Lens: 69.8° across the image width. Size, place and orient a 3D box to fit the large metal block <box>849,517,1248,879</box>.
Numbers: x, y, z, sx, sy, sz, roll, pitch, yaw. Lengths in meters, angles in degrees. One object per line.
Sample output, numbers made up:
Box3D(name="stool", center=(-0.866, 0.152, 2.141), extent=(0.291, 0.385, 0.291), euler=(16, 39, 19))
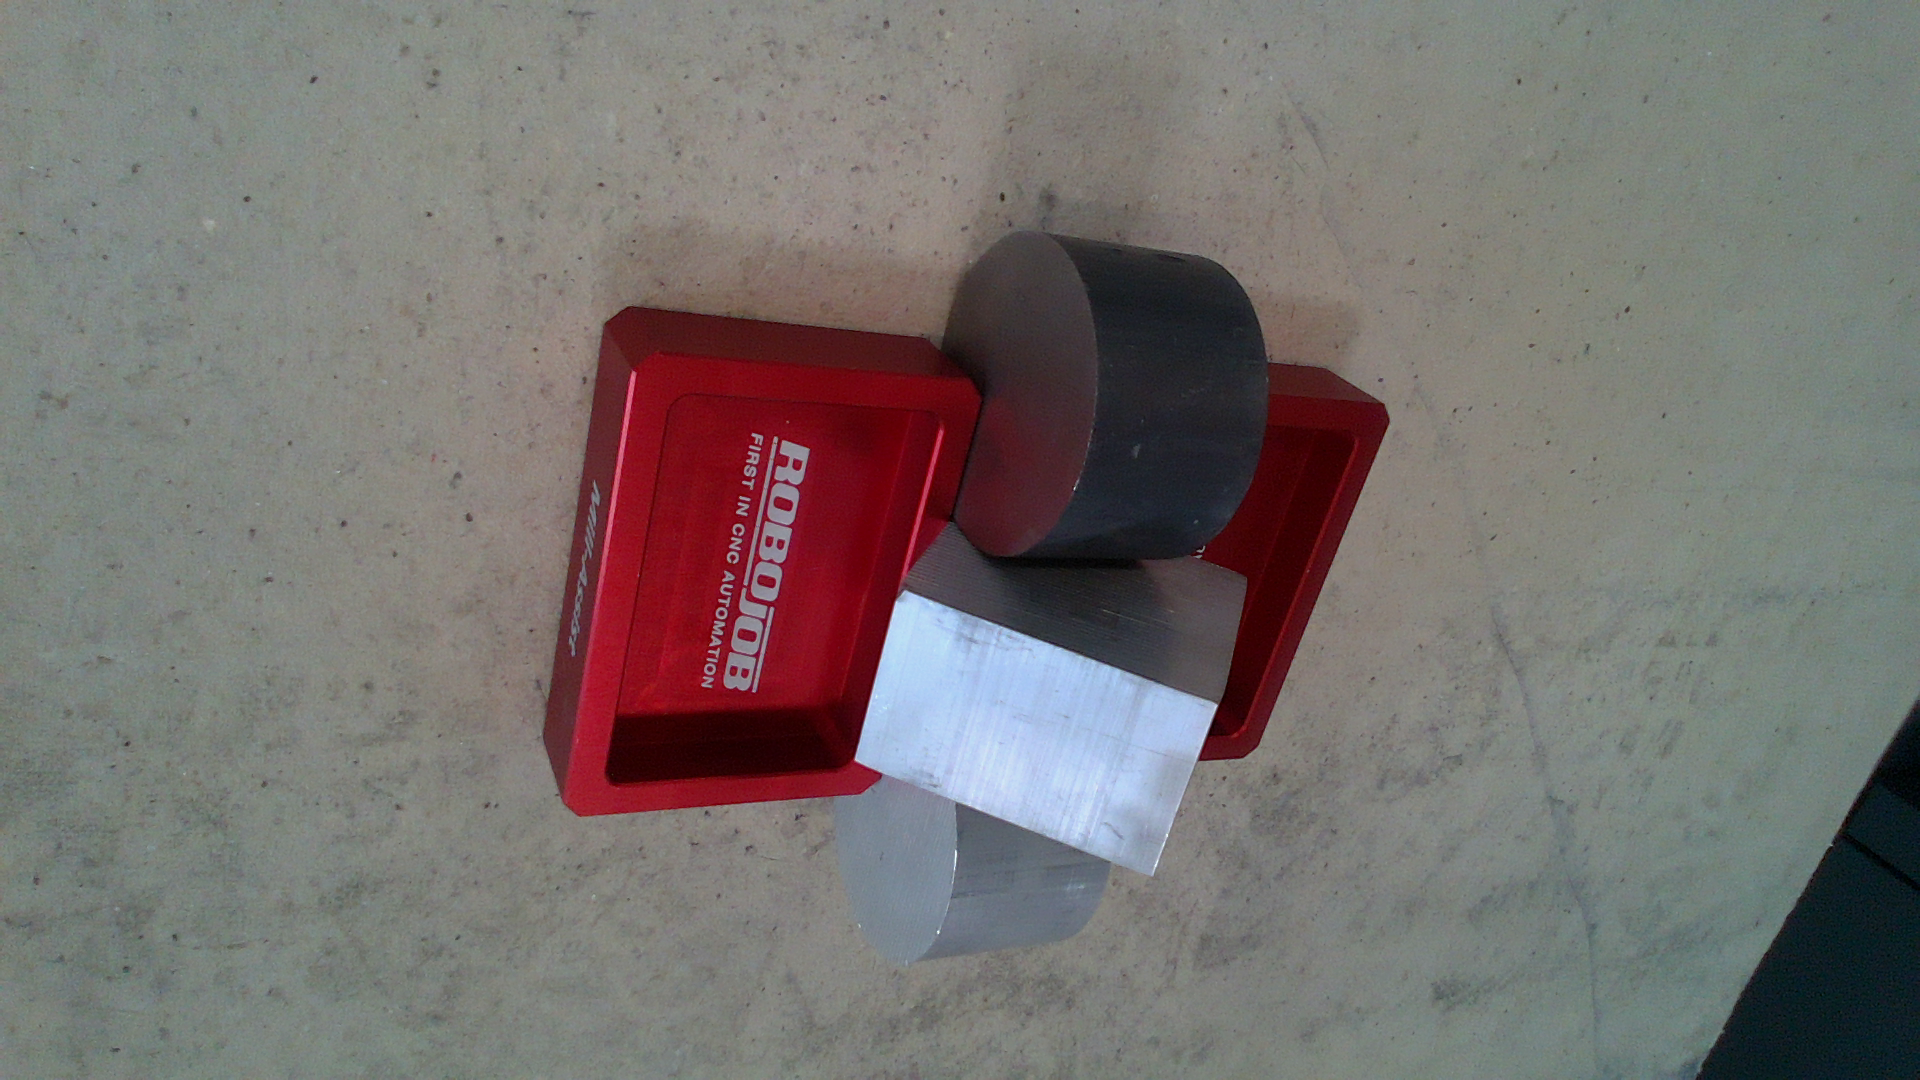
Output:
Box3D(name="large metal block", center=(0.026, 0.032, 0.361), extent=(0.080, 0.080, 0.050), euler=(19, 115, 7))

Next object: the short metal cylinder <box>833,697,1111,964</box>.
Box3D(name="short metal cylinder", center=(0.002, 0.080, 0.403), extent=(0.050, 0.080, 0.080), euler=(2, 118, -29))

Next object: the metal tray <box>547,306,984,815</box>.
Box3D(name="metal tray", center=(-0.053, 0.009, 0.363), extent=(0.090, 0.030, 0.130), euler=(1, 118, -29))

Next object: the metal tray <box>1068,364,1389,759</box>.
Box3D(name="metal tray", center=(0.070, 0.009, 0.430), extent=(0.090, 0.030, 0.130), euler=(1, 118, -29))

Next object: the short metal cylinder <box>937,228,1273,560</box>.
Box3D(name="short metal cylinder", center=(0.033, -0.035, 0.350), extent=(0.050, 0.080, 0.080), euler=(2, 118, -29))
